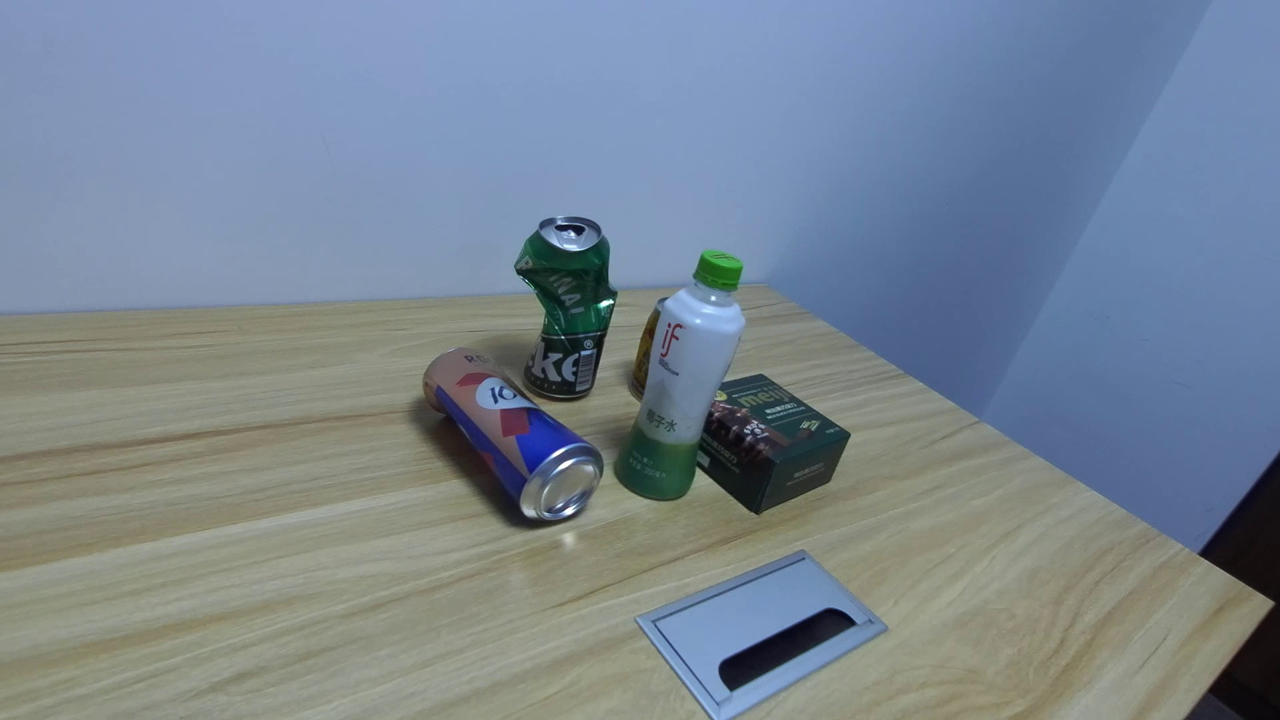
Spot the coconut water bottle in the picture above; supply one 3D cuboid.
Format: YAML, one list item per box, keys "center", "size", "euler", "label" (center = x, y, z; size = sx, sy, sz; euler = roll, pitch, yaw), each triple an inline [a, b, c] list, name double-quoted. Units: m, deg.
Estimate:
- center: [0.033, 0.012, 0.522]
  size: [0.063, 0.188, 0.063]
  euler: [13, 26, -6]
  label: "coconut water bottle"

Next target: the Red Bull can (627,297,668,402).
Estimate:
- center: [0.031, -0.007, 0.677]
  size: [0.069, 0.092, 0.069]
  euler: [10, 33, -6]
  label: "Red Bull can"

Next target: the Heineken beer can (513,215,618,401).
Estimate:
- center: [-0.063, -0.043, 0.621]
  size: [0.067, 0.159, 0.079]
  euler: [22, 32, 20]
  label: "Heineken beer can"

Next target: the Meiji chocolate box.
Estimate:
- center: [0.103, 0.068, 0.609]
  size: [0.110, 0.056, 0.108]
  euler: [-9, 34, -43]
  label: "Meiji chocolate box"

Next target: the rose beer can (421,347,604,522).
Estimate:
- center: [-0.098, 0.048, 0.525]
  size: [0.070, 0.069, 0.167]
  euler: [-29, 46, -29]
  label: "rose beer can"
